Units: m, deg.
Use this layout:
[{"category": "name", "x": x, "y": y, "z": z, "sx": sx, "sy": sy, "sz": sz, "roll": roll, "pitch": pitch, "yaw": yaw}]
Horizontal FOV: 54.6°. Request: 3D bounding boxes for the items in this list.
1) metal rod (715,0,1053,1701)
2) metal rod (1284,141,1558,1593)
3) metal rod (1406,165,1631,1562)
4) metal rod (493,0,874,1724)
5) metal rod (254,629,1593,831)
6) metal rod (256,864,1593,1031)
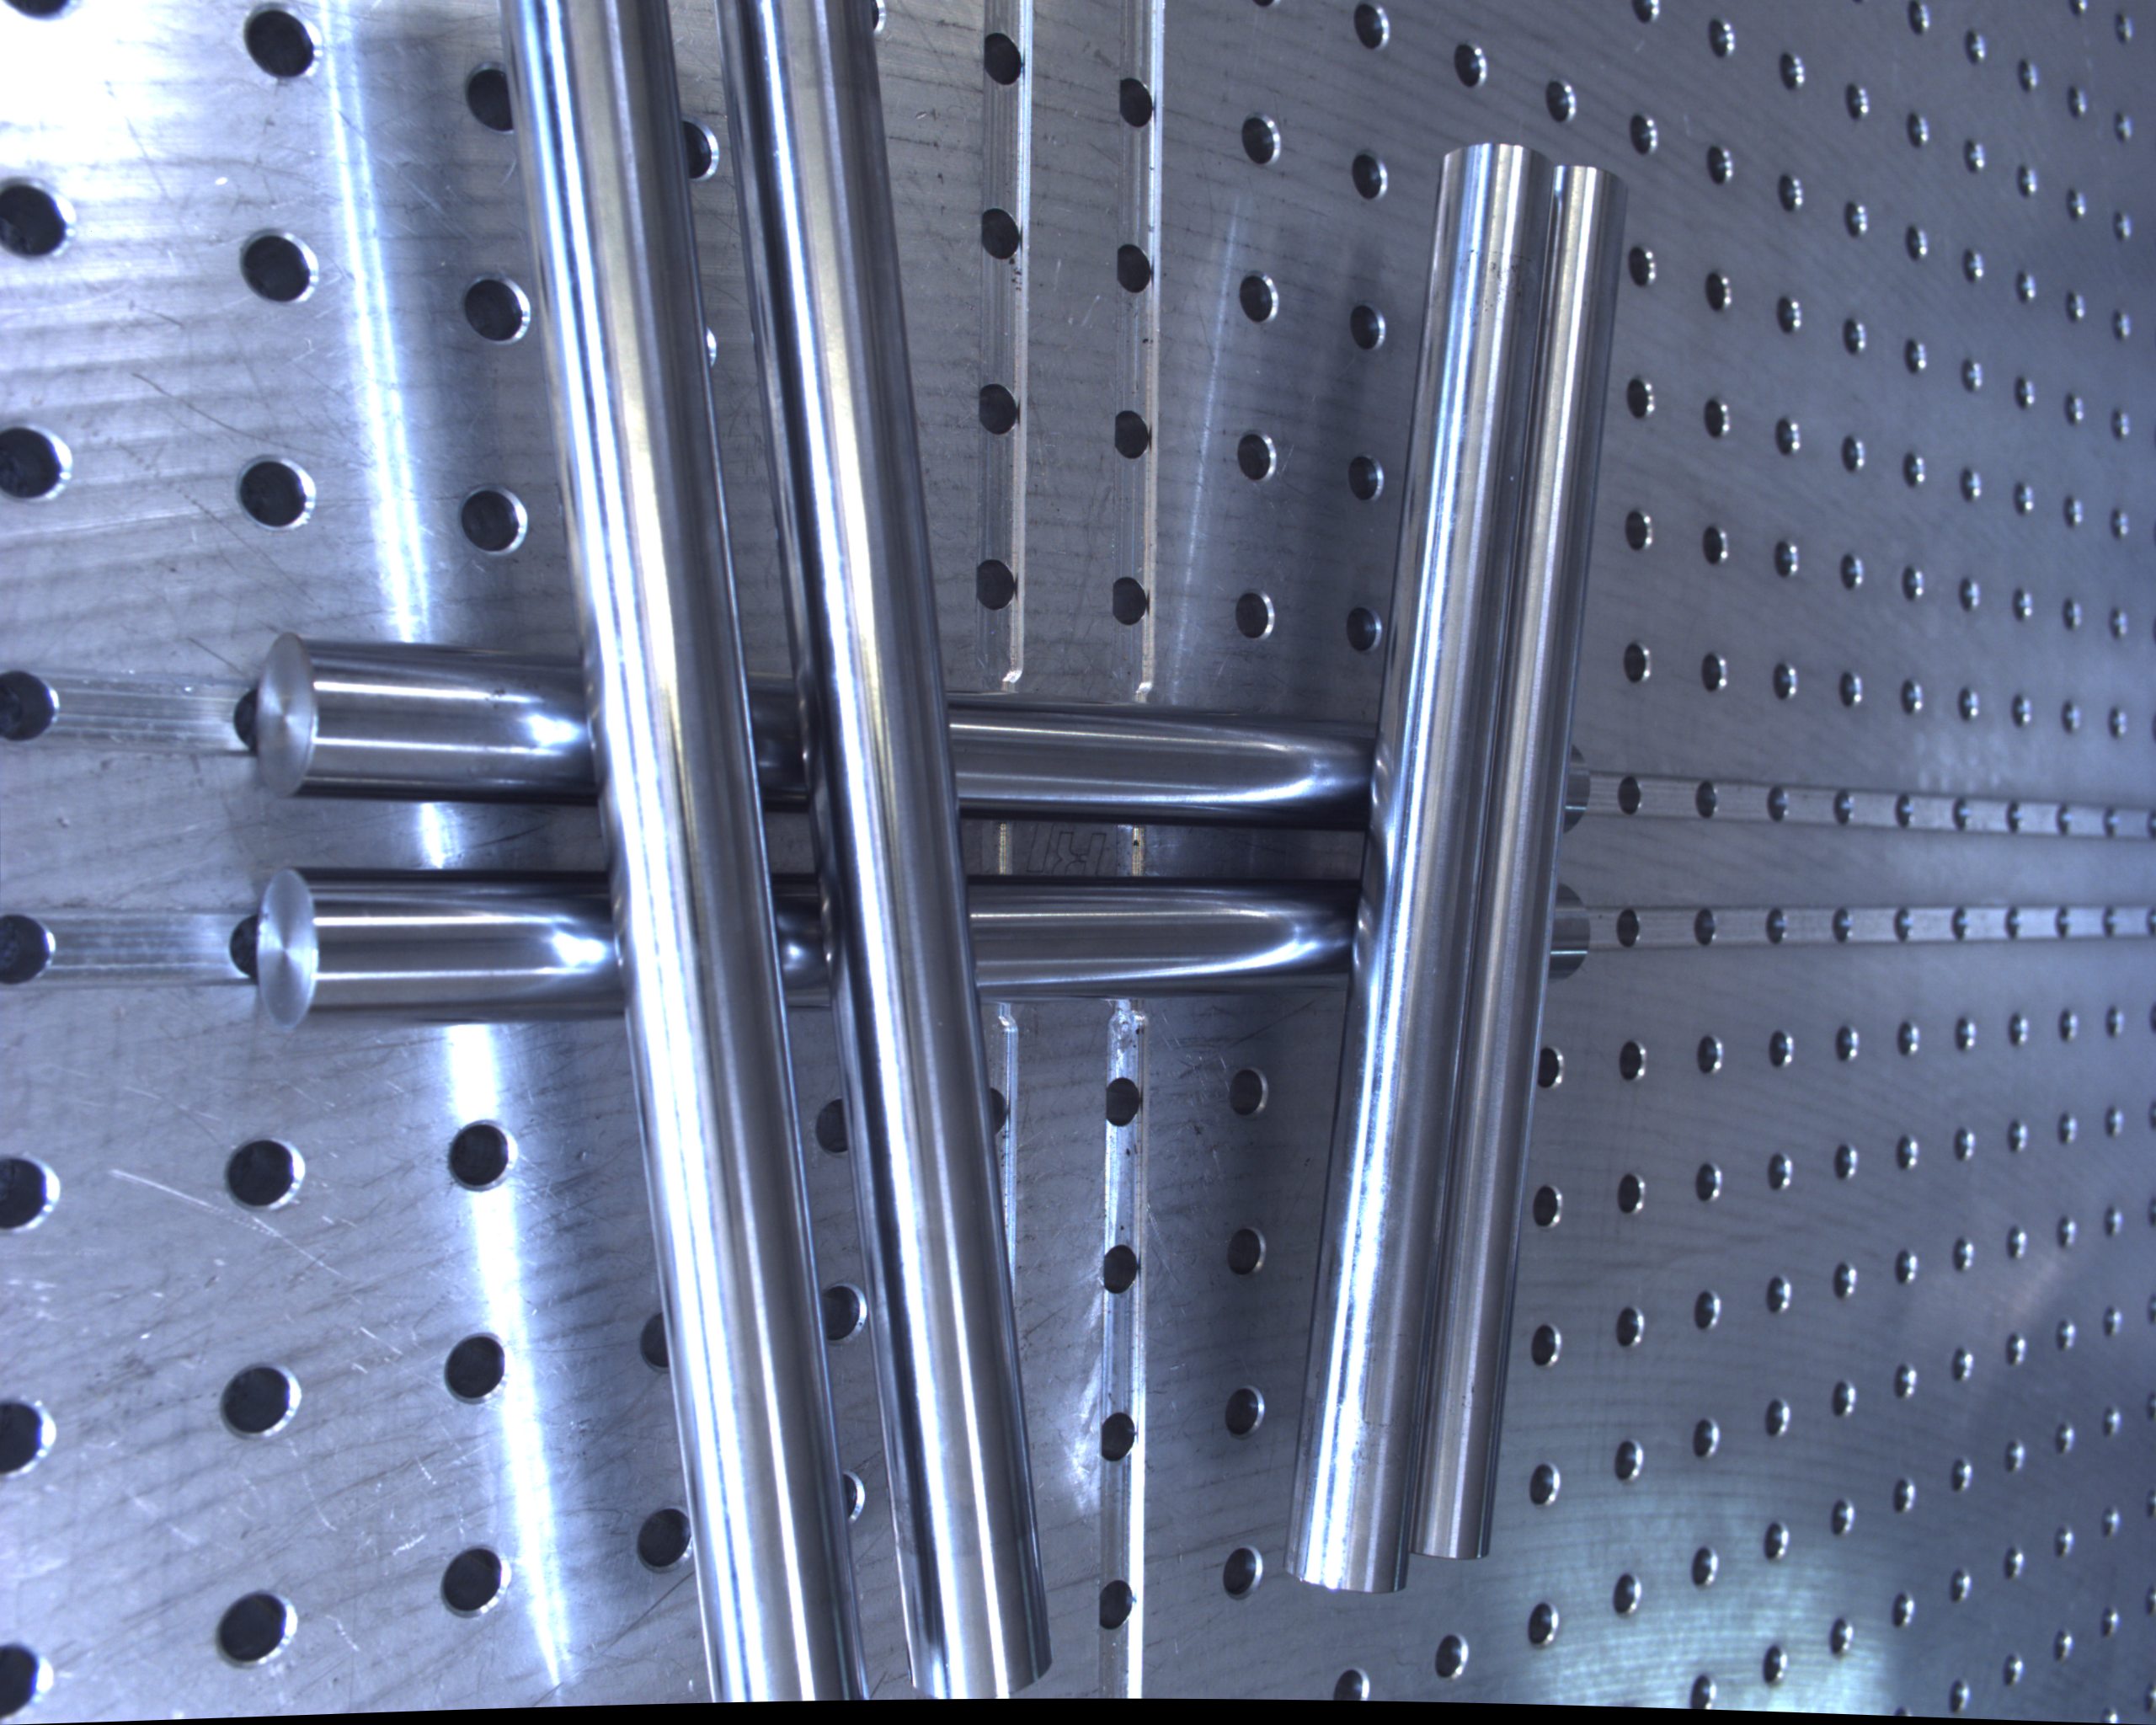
[{"category": "metal rod", "x": -0.032, "y": -0.008, "z": 0.349, "sx": 0.025, "sy": 0.025, "sz": 0.298, "roll": -10, "pitch": 97, "yaw": -39}, {"category": "metal rod", "x": 0.073, "y": -0.003, "z": 0.437, "sx": 0.025, "sy": 0.025, "sz": 0.299, "roll": 12, "pitch": 83, "yaw": -39}, {"category": "metal rod", "x": 0.093, "y": -0.004, "z": 0.454, "sx": 0.025, "sy": 0.025, "sz": 0.299, "roll": 12, "pitch": 83, "yaw": -39}, {"category": "metal rod", "x": -0.061, "y": -0.006, "z": 0.325, "sx": 0.025, "sy": 0.025, "sz": 0.298, "roll": -11, "pitch": 97, "yaw": -39}, {"category": "metal rod", "x": -0.002, "y": -0.020, "z": 0.407, "sx": 0.302, "sy": 0.025, "sz": 0.025, "roll": 1, "pitch": 90, "yaw": -40}, {"category": "metal rod", "x": -0.002, "y": 0.015, "z": 0.407, "sx": 0.302, "sy": 0.025, "sz": 0.025, "roll": 1, "pitch": 90, "yaw": -40}]
